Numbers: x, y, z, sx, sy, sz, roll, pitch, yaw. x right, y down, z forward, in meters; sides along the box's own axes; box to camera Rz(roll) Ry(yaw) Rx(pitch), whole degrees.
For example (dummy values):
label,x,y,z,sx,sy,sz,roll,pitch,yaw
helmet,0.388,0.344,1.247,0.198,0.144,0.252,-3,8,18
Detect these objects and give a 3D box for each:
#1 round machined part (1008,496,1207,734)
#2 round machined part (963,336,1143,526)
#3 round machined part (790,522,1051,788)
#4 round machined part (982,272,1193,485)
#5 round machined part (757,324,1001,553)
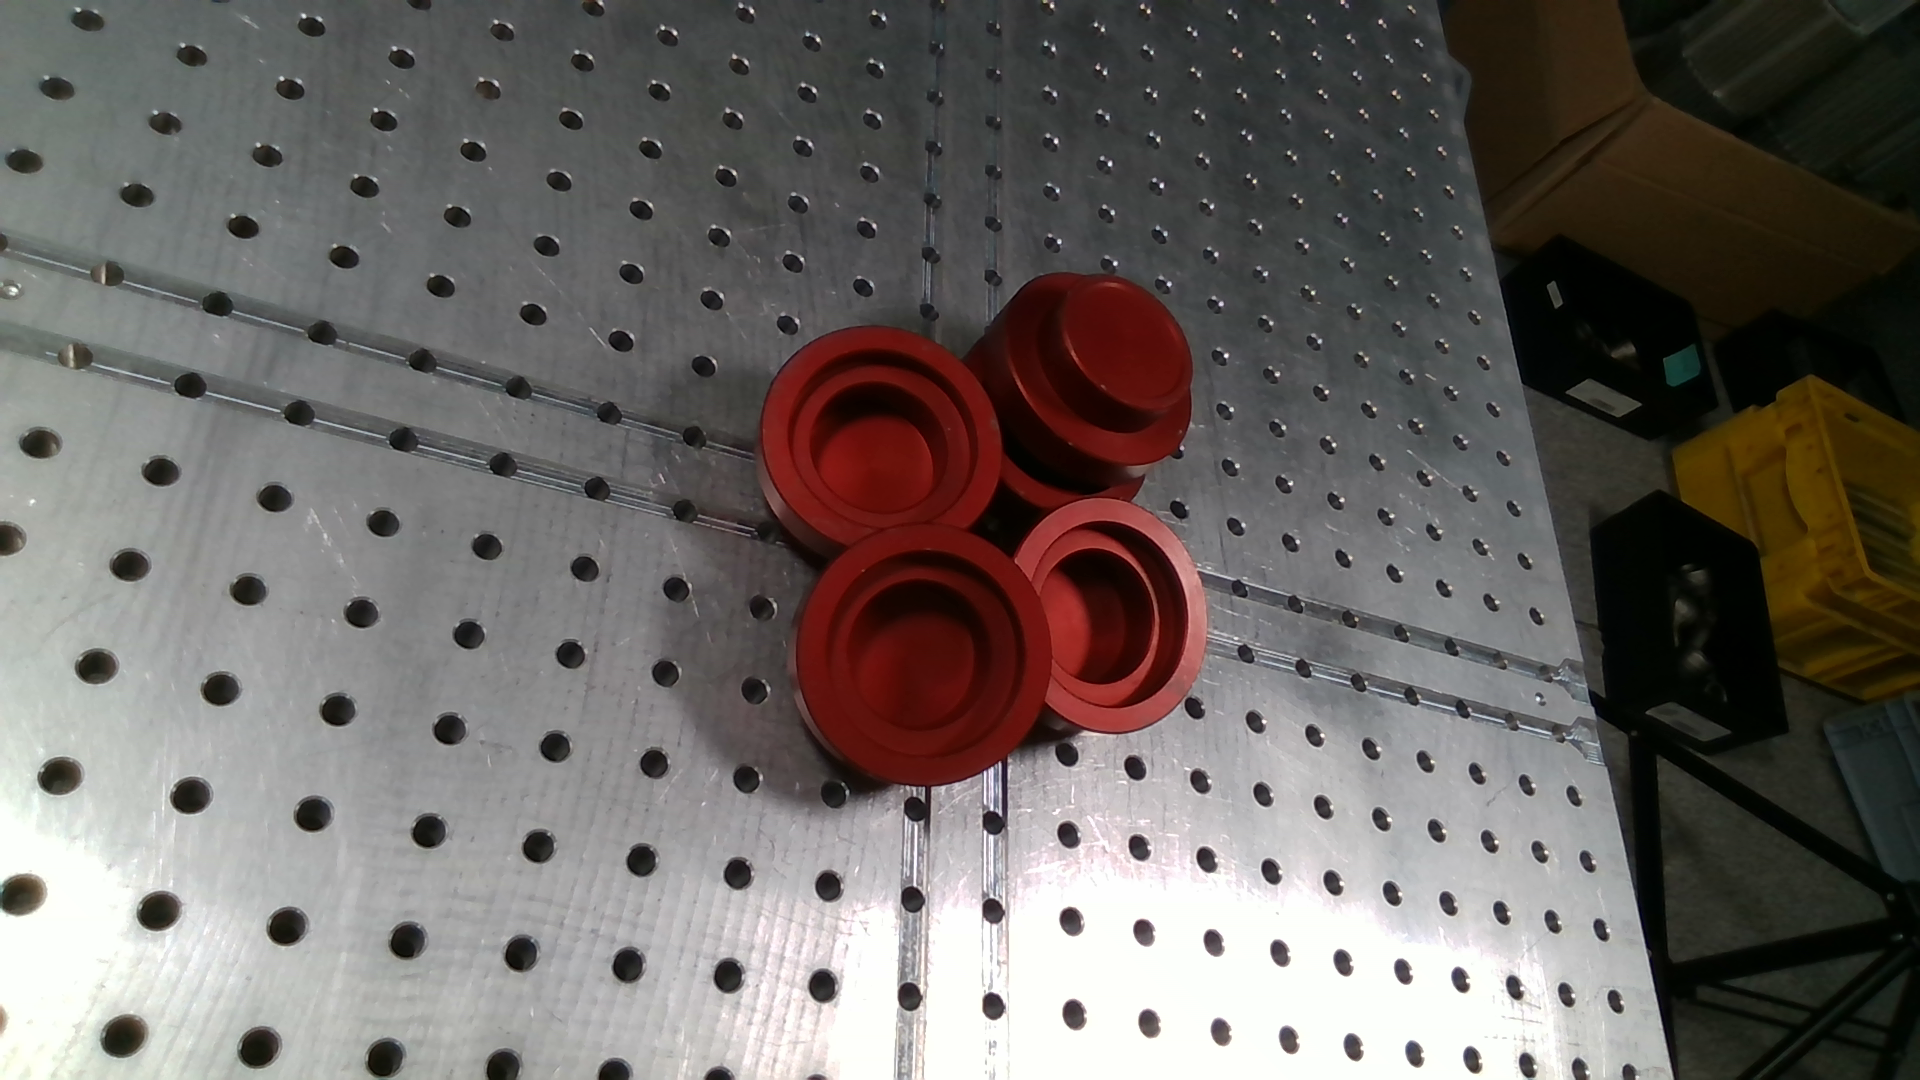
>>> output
label,x,y,z,sx,sy,sz,roll,pitch,yaw
round machined part,0.052,0.033,0.581,0.098,0.042,0.098,5,79,-26
round machined part,0.033,-0.045,0.622,0.098,0.042,0.098,14,59,-25
round machined part,-0.018,0.044,0.528,0.098,0.042,0.098,2,83,-16
round machined part,0.062,-0.077,0.603,0.098,0.042,0.098,14,59,-25
round machined part,-0.036,-0.035,0.563,0.098,0.042,0.098,5,71,-13
